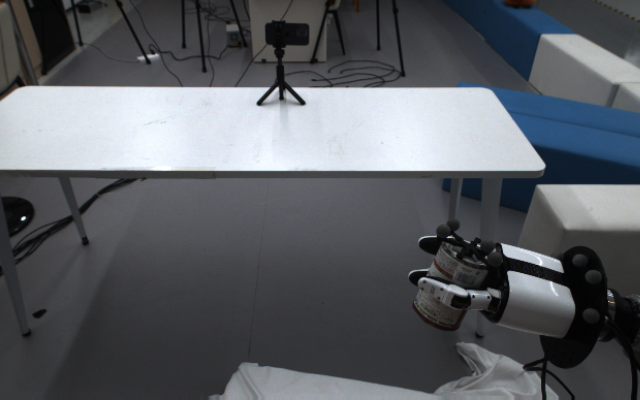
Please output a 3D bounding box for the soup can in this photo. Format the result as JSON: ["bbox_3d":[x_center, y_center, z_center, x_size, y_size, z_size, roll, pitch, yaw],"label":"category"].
[{"bbox_3d":[0.173,0.109,0.632,0.067,0.101,0.067,17,21,-7],"label":"soup can"}]
